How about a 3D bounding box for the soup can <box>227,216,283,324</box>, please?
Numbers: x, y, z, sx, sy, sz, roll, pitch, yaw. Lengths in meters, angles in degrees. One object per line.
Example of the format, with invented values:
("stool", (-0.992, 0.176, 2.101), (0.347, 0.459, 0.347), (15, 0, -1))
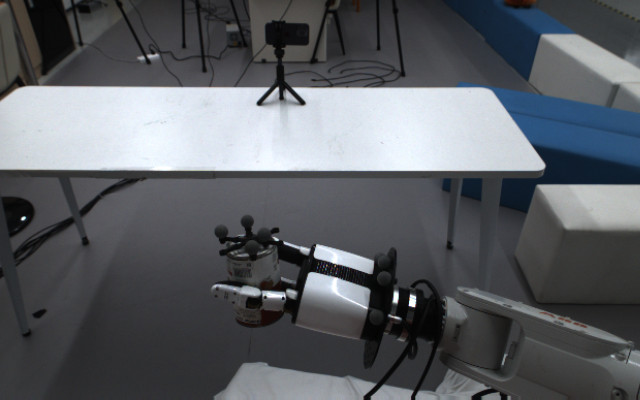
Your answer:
("soup can", (-0.082, 0.105, 0.627), (0.067, 0.101, 0.067), (-4, 21, 1))
